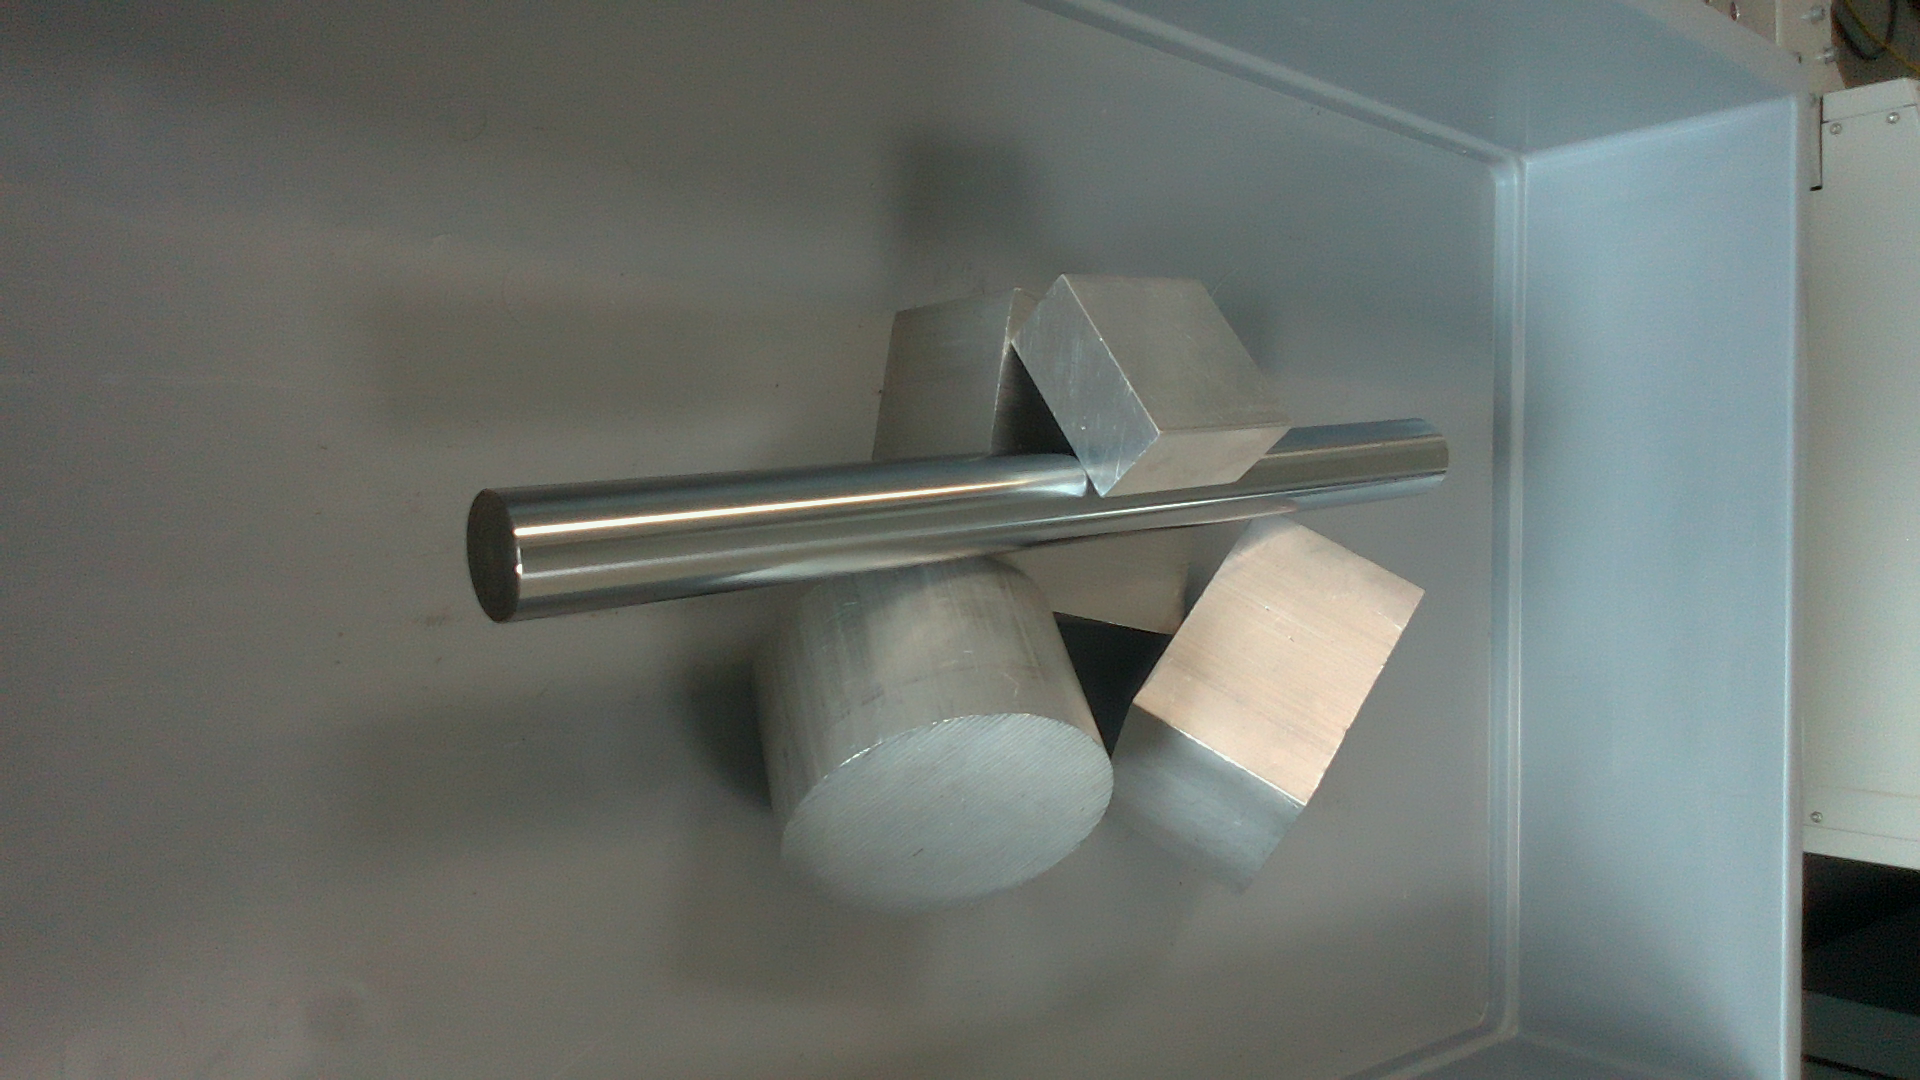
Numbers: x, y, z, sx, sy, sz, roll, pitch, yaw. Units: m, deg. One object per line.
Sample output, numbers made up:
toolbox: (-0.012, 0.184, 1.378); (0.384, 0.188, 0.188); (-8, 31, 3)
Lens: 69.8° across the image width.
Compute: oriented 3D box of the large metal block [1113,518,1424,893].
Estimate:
large metal block: (0.089, 0.049, 0.417); (0.080, 0.050, 0.080); (-52, 164, -27)

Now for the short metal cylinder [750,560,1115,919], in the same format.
short metal cylinder: (-0.008, 0.049, 0.337); (0.080, 0.080, 0.050); (25, 32, -37)

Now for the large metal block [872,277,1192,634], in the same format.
large metal block: (0.022, -0.020, 0.389); (0.080, 0.050, 0.080); (14, 81, -39)

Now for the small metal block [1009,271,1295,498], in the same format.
small metal block: (0.048, -0.040, 0.347); (0.050, 0.025, 0.050); (-8, 60, -39)

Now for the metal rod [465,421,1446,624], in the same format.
metal rod: (0.030, -0.012, 0.347); (0.301, 0.025, 0.025); (-7, 95, -39)
